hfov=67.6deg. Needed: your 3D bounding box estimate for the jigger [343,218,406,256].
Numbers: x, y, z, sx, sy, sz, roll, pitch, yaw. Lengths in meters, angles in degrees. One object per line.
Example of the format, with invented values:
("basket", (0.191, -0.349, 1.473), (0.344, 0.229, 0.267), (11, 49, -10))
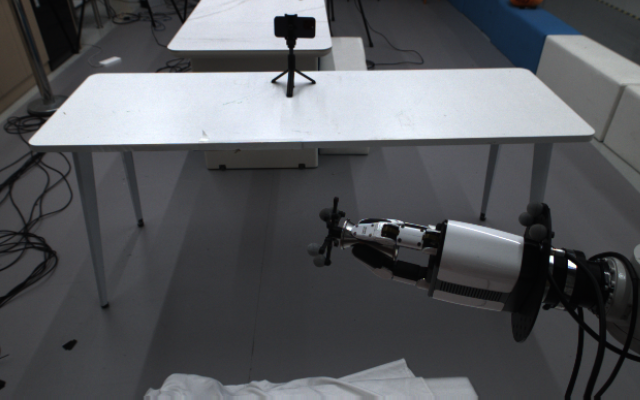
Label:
("jigger", (0.069, 0.043, 0.598), (0.071, 0.043, 0.043), (9, 35, 16))
